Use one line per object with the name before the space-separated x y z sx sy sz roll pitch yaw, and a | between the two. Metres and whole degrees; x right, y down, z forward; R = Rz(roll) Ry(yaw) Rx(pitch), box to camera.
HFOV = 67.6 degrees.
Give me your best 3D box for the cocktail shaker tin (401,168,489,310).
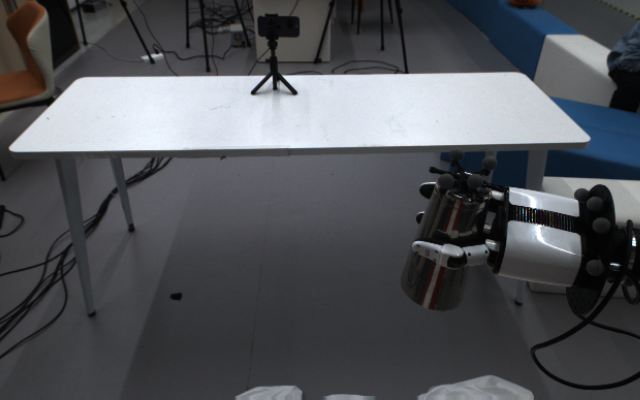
cocktail shaker tin | 0.168 0.049 0.627 0.093 0.170 0.093 4 36 -3
